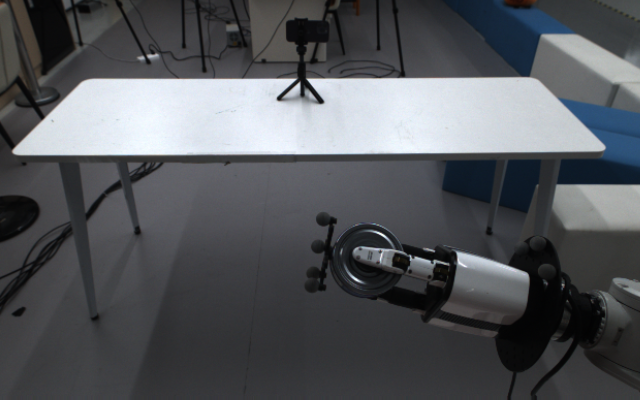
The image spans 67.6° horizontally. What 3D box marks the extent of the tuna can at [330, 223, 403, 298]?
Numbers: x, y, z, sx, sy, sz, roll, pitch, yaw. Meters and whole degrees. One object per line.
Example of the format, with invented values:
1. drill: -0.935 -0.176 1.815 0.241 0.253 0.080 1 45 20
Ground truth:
1. tuna can: 0.059 0.073 0.565 0.085 0.034 0.085 2 73 -5
